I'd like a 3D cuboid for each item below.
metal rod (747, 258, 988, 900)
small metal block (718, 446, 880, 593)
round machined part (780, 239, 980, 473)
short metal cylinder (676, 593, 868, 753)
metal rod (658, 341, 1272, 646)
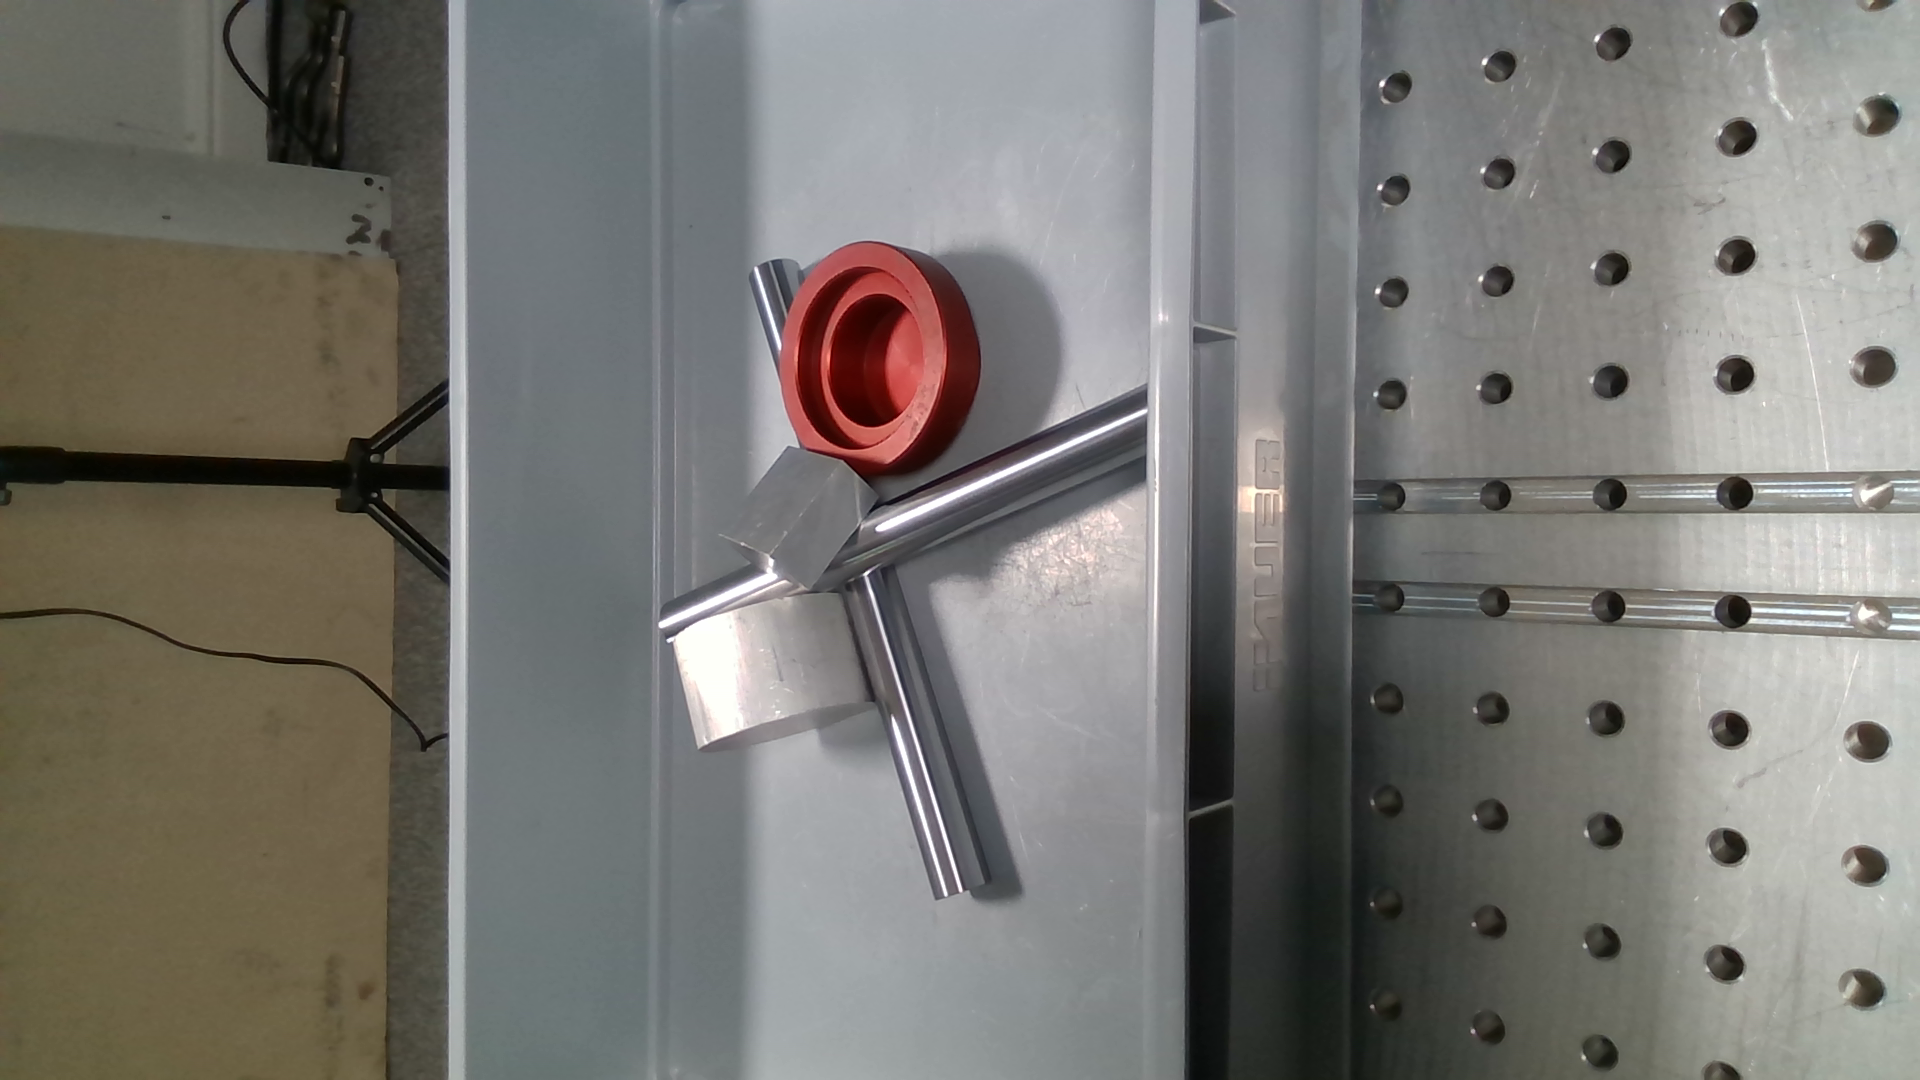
[{"bbox_3d":[-0.044,0.010,0.618,0.025,0.025,0.299,-29,72,37],"label":"metal rod"},{"bbox_3d":[-0.068,-0.010,0.585,0.050,0.025,0.050,-54,33,-12],"label":"small metal block"},{"bbox_3d":[-0.029,-0.077,0.594,0.098,0.042,0.098,0,91,40],"label":"round machined part"},{"bbox_3d":[-0.084,0.060,0.616,0.080,0.080,0.050,-25,74,38],"label":"short metal cylinder"},{"bbox_3d":[-0.013,-0.010,0.568,0.300,0.025,0.025,-23,76,31],"label":"metal rod"}]
